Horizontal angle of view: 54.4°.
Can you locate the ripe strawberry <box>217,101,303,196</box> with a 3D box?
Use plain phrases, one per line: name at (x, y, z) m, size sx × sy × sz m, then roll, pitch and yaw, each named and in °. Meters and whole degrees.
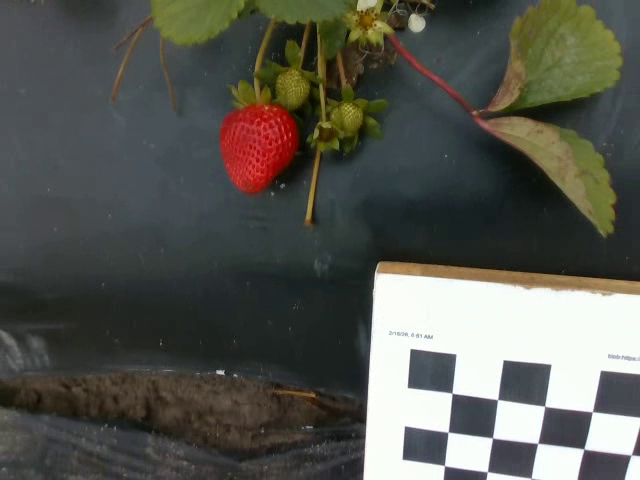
ripe strawberry at (-0.010, -0.013, 0.092) m, size 0.018 × 0.017 × 0.014 m, roll 7°, pitch -25°, yaw 0°
